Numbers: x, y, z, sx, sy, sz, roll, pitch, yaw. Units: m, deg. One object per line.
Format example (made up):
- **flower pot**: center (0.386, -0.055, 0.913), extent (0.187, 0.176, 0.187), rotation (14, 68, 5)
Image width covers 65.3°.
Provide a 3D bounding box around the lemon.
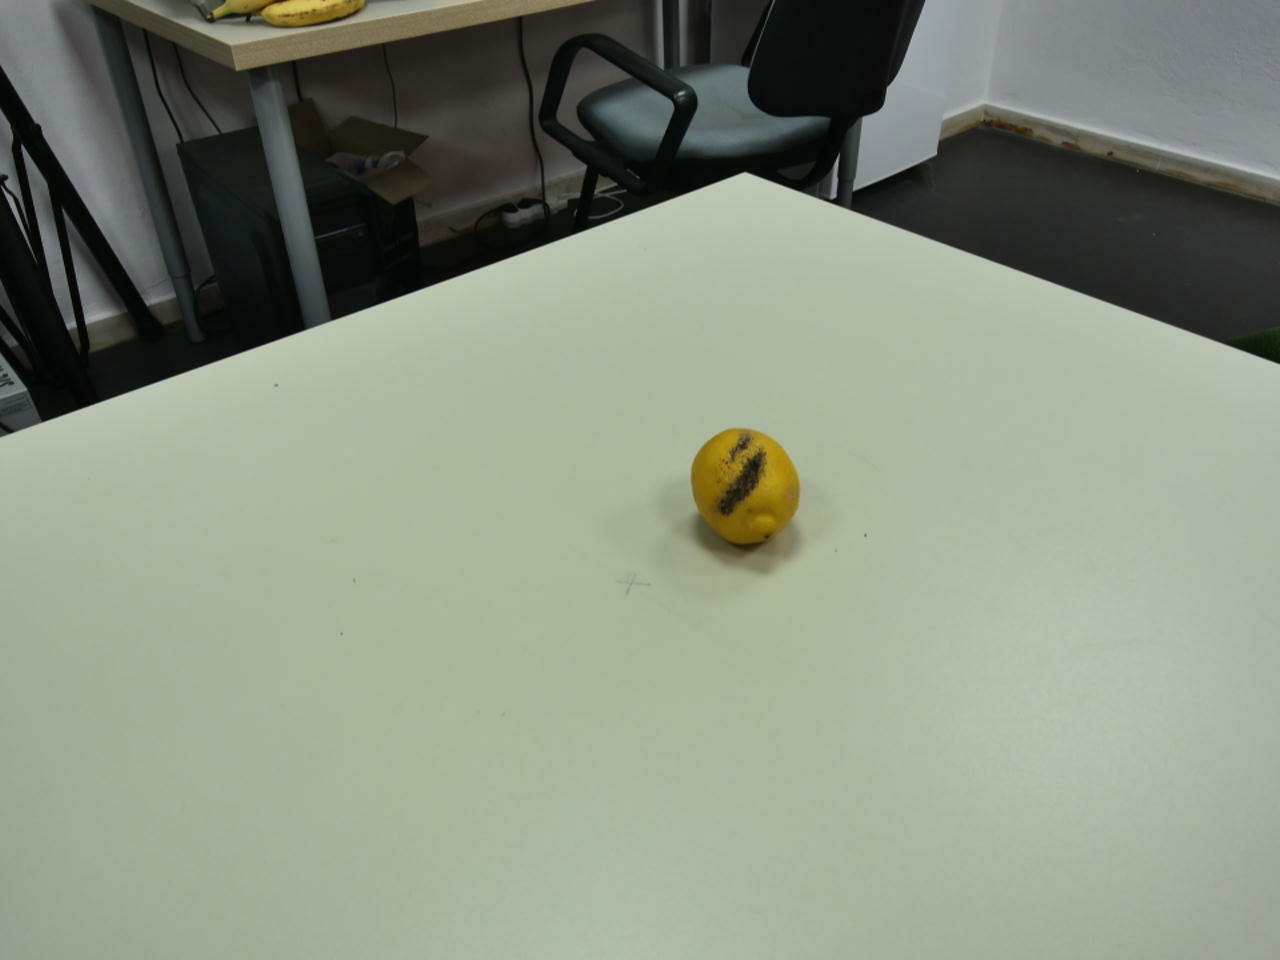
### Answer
- **lemon**: center (0.056, 0.003, 0.528), extent (0.061, 0.056, 0.058), rotation (28, 45, 33)
